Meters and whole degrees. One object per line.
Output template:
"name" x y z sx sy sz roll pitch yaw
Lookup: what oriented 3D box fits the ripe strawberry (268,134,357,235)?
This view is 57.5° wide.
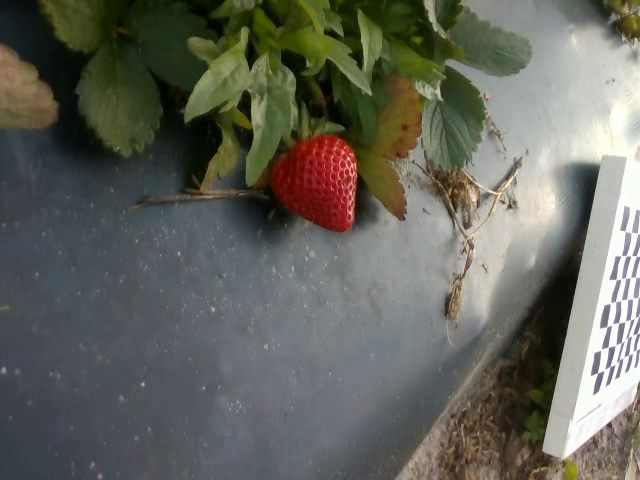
"ripe strawberry" -0.002 -0.024 0.263 0.043 0.050 0.042 -20 -4 -45
